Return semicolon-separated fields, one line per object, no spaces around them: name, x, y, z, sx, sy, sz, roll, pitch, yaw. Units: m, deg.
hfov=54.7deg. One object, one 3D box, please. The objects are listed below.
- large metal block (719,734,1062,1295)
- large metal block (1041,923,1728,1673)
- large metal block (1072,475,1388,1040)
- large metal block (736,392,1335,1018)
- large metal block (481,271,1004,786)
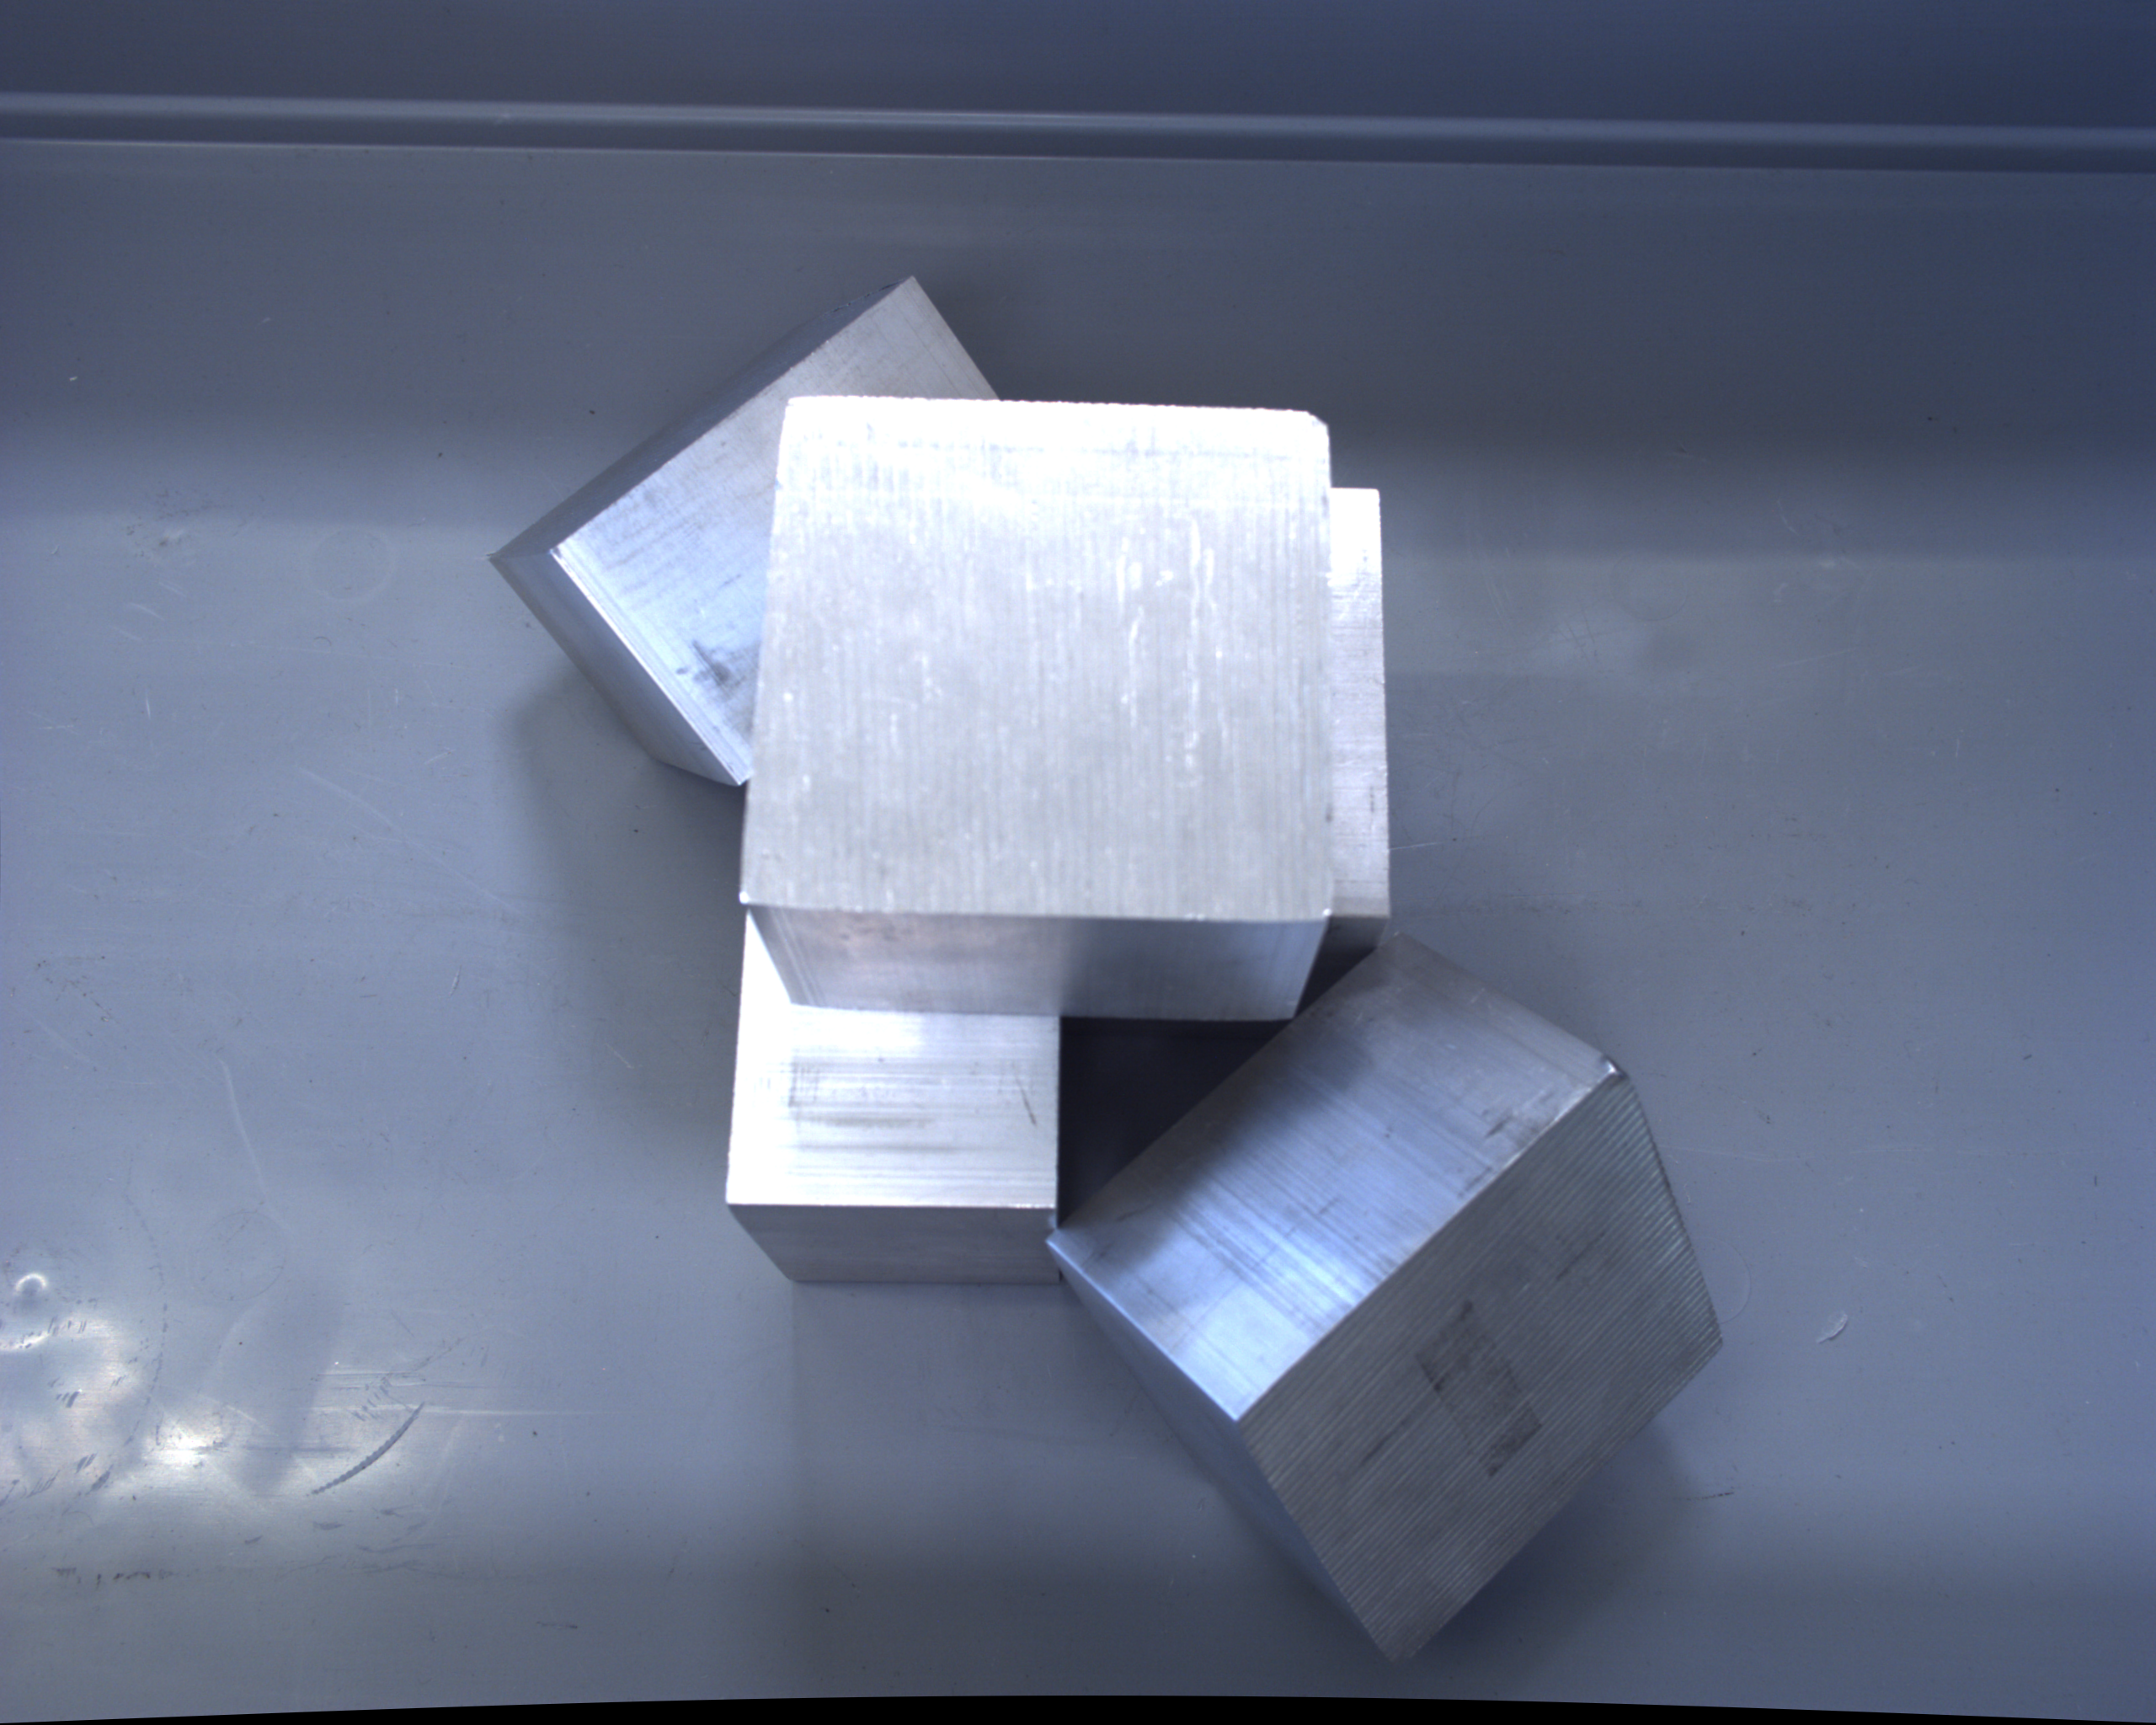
large metal block;-0.029;0.030;0.368;0.050;0.080;0.080;1;70;0
large metal block;0.053;0.072;0.345;0.080;0.080;0.050;-40;40;-13
large metal block;0.025;-0.016;0.384;0.050;0.080;0.080;1;70;0
large metal block;-0.004;-0.022;0.317;0.080;0.050;0.080;2;70;0
large metal block;-0.058;-0.062;0.393;0.080;0.080;0.050;-41;110;-14
